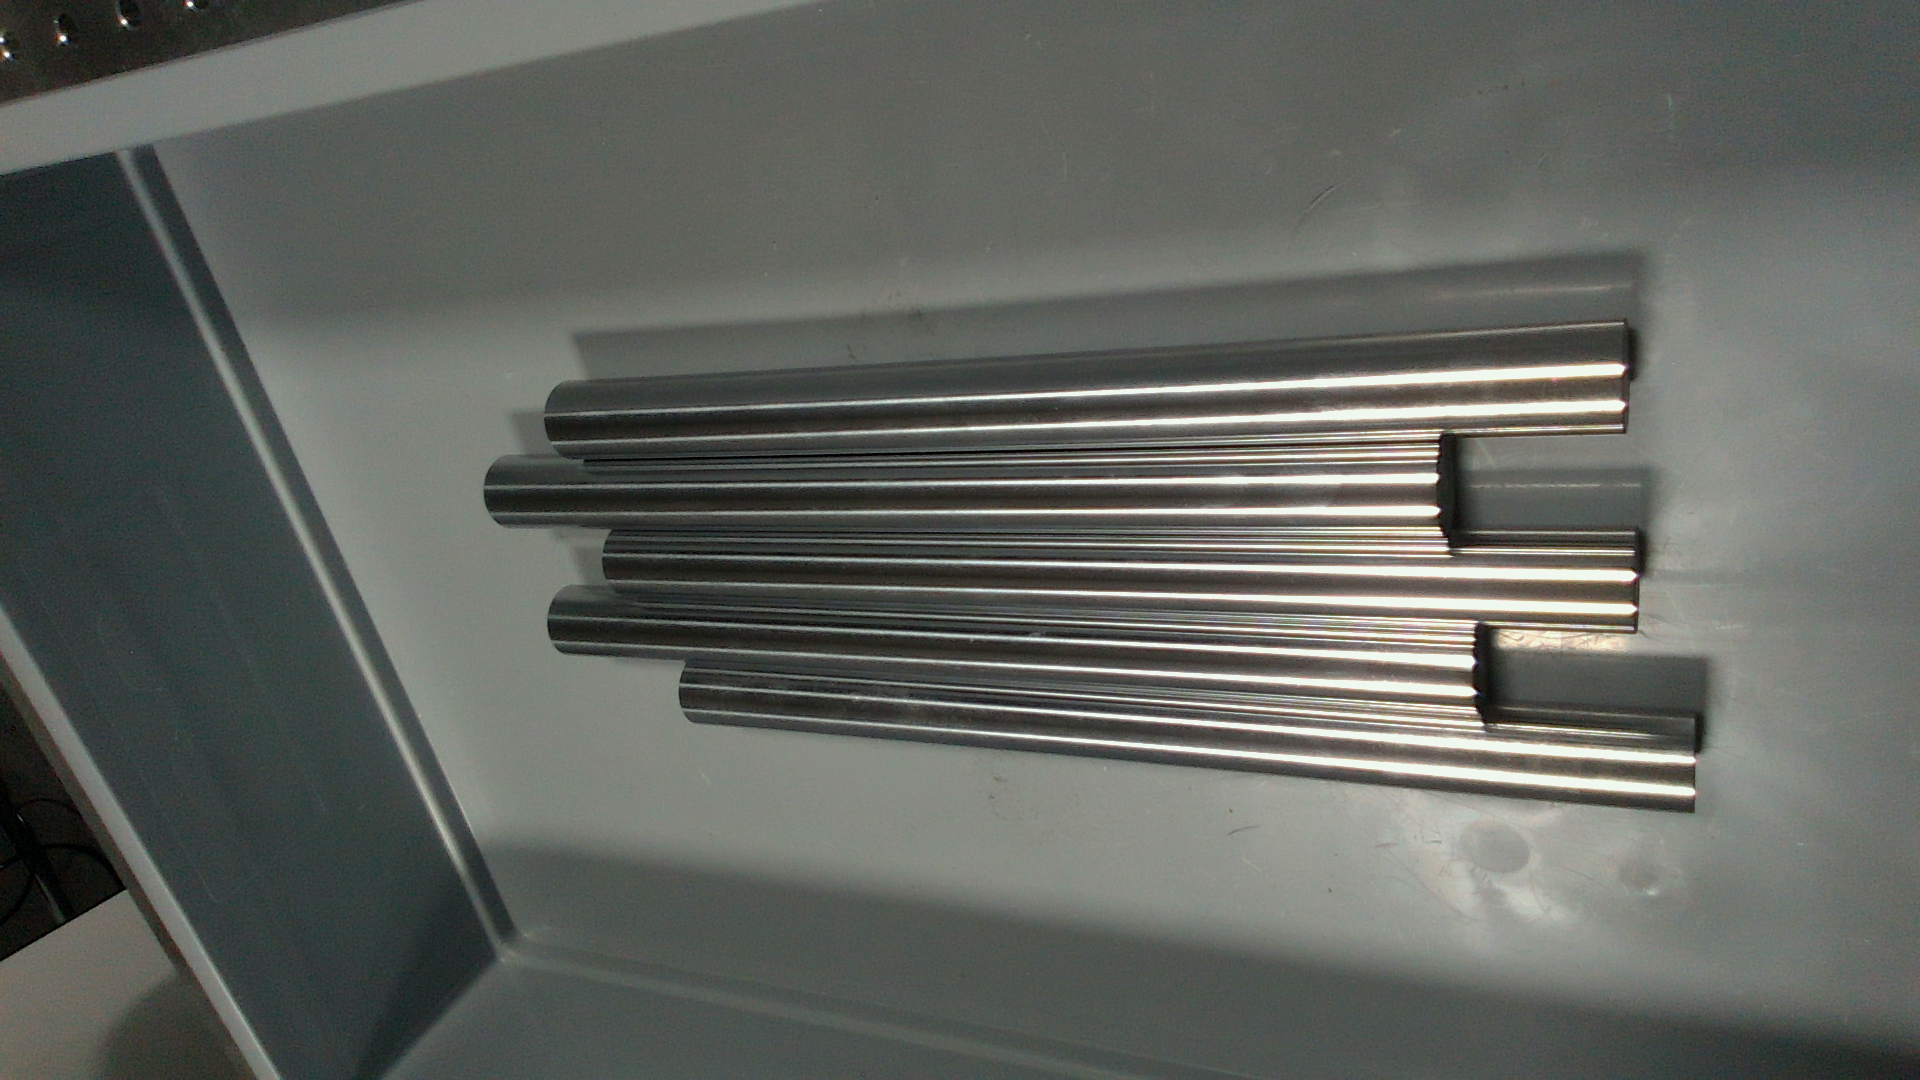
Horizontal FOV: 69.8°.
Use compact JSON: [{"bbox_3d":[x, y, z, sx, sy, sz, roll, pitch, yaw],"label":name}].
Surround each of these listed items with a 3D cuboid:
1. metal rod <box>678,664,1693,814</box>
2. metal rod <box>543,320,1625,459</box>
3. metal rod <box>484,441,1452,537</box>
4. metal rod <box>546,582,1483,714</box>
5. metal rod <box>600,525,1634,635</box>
[{"bbox_3d":[0.044,0.052,0.400,0.299,0.025,0.025,1,119,28],"label":"metal rod"},{"bbox_3d":[0.010,-0.036,0.364,0.299,0.025,0.025,1,119,28],"label":"metal rod"},{"bbox_3d":[-0.018,-0.015,0.392,0.299,0.025,0.025,1,119,28],"label":"metal rod"},{"bbox_3d":[-0.003,0.029,0.411,0.299,0.025,0.025,1,119,28],"label":"metal rod"},{"bbox_3d":[0.022,0.007,0.384,0.299,0.025,0.025,1,119,28],"label":"metal rod"}]
